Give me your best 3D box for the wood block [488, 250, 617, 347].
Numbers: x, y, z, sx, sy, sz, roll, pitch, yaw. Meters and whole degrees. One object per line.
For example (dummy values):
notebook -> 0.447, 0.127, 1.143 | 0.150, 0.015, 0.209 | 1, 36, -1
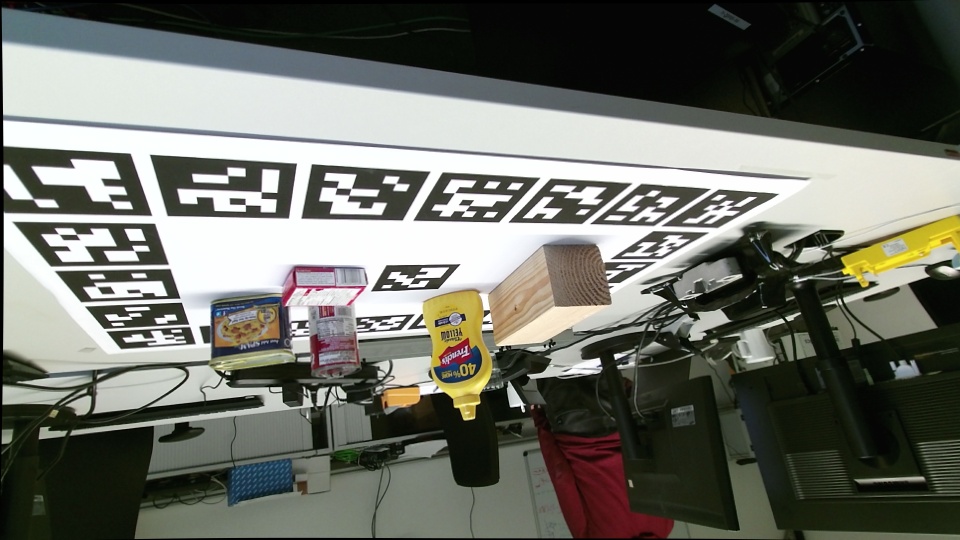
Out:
wood block -> 0.099, 0.050, 0.803 | 0.091, 0.089, 0.206 | 1, 160, -24

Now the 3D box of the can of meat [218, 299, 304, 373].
can of meat -> -0.293, 0.088, 0.721 | 0.102, 0.083, 0.058 | -5, 157, -10

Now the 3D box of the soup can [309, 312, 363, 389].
soup can -> -0.209, 0.113, 0.773 | 0.068, 0.101, 0.068 | -11, 158, -4

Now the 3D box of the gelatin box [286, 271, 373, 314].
gelatin box -> -0.192, 0.029, 0.681 | 0.090, 0.030, 0.073 | 1, 154, -34

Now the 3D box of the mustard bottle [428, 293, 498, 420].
mustard bottle -> -0.022, 0.135, 0.835 | 0.096, 0.190, 0.058 | -10, 160, 1
